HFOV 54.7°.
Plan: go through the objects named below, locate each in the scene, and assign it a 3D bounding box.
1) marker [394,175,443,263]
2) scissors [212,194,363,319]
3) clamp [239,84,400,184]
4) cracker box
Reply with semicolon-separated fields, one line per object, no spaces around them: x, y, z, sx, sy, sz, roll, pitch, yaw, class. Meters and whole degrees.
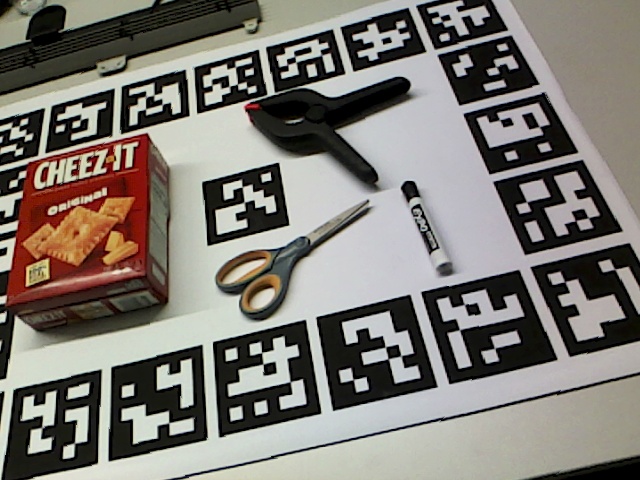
0.108;-0.028;0.691;0.019;0.019;0.121;-18;53;2;marker
-0.030;0.006;0.705;0.202;0.016;0.088;-38;54;-15;scissors
-0.013;-0.154;0.816;0.204;0.036;0.165;11;58;20;clamp
-0.273;-0.012;0.749;0.164;0.071;0.214;-14;54;5;cracker box
